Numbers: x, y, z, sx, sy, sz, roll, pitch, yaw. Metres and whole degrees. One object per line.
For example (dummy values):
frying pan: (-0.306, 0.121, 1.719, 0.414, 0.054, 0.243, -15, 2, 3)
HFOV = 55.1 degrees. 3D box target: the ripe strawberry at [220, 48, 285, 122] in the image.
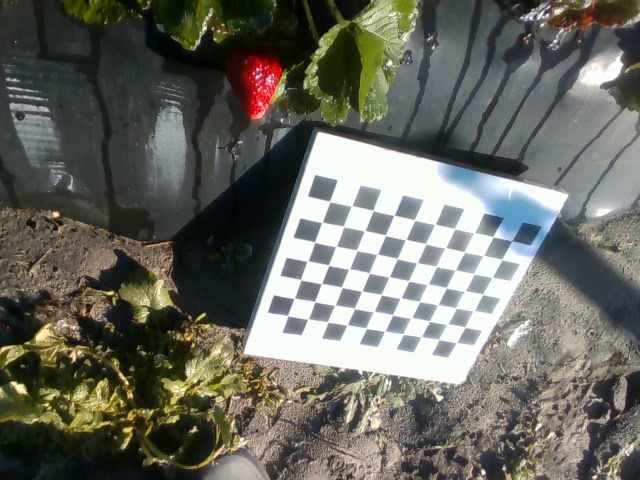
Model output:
ripe strawberry: (-0.043, -0.105, 0.410, 0.041, 0.053, 0.047, 5, -9, -15)
